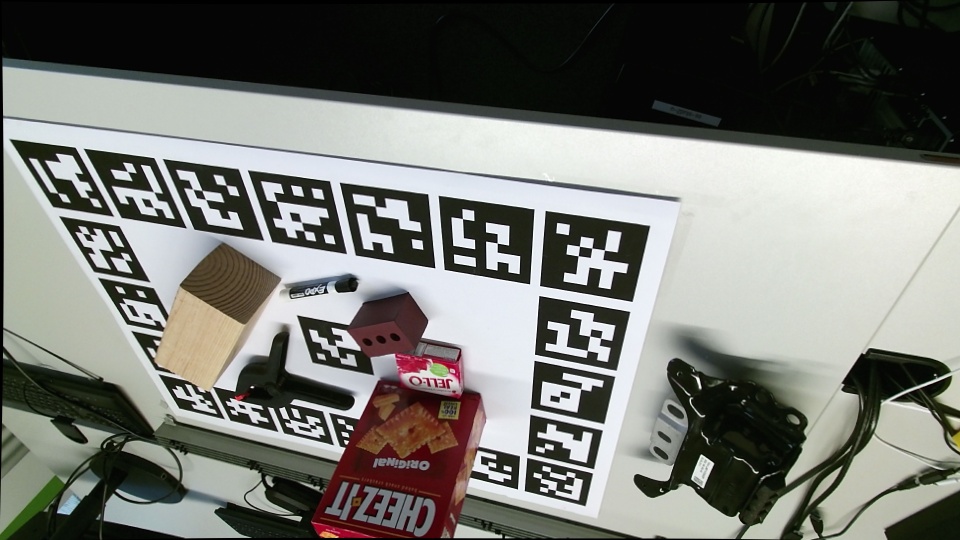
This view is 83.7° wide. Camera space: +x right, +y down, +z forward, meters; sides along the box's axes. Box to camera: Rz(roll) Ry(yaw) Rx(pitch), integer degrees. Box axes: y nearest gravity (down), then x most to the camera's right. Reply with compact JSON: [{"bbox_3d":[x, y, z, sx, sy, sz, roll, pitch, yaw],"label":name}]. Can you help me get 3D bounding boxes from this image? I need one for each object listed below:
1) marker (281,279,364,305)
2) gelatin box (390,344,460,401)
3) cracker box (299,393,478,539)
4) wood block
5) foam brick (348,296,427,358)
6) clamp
[{"bbox_3d":[-0.200,0.028,0.682,0.121,0.019,0.019,-9,121,23],"label":"marker"},{"bbox_3d":[-0.073,0.137,0.723,0.089,0.030,0.073,7,126,12],"label":"gelatin box"},{"bbox_3d":[-0.110,0.272,0.710,0.165,0.213,0.072,6,129,16],"label":"cracker box"},{"bbox_3d":[-0.365,0.076,0.731,0.090,0.090,0.206,34,131,-12],"label":"wood block"},{"bbox_3d":[-0.117,0.074,0.671,0.078,0.051,0.053,-14,119,26],"label":"foam brick"},{"bbox_3d":[-0.320,0.187,0.832,0.203,0.036,0.165,-20,118,29],"label":"clamp"}]
